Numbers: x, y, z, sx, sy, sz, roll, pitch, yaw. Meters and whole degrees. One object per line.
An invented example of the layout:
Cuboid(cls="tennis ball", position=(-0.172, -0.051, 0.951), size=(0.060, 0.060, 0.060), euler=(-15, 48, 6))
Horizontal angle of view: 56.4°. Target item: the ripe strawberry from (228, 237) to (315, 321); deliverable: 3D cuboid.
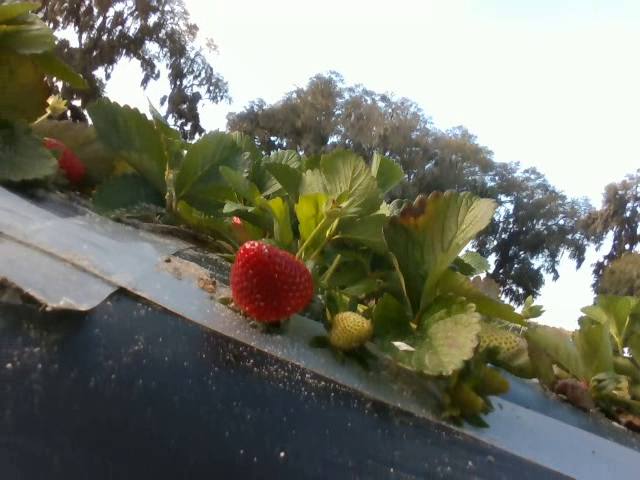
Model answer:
Cuboid(cls="ripe strawberry", position=(-0.011, 0.006, 0.133), size=(0.023, 0.021, 0.026), euler=(2, -21, 10))
